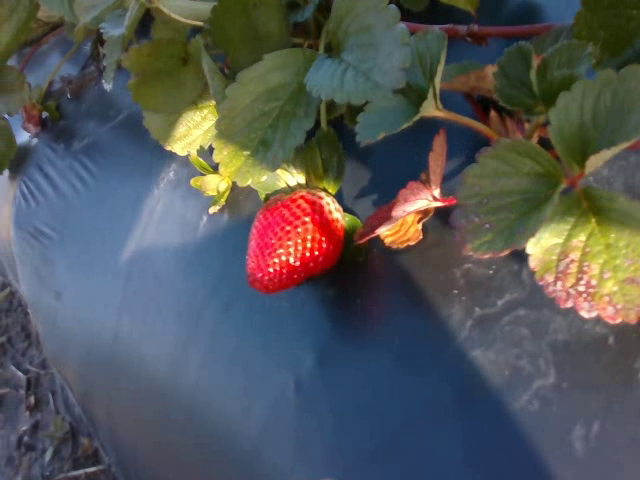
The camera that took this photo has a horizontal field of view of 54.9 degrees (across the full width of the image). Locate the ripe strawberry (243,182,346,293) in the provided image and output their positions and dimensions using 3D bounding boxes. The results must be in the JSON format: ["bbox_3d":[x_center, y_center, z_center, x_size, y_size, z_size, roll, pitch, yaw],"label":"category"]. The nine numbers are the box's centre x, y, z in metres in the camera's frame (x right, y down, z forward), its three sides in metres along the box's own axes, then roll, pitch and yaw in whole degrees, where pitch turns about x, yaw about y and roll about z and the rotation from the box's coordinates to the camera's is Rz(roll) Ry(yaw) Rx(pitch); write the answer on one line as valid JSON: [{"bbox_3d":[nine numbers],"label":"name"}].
[{"bbox_3d":[-0.014,0.002,0.229,0.040,0.056,0.041,41,-39,-9],"label":"ripe strawberry"}]
